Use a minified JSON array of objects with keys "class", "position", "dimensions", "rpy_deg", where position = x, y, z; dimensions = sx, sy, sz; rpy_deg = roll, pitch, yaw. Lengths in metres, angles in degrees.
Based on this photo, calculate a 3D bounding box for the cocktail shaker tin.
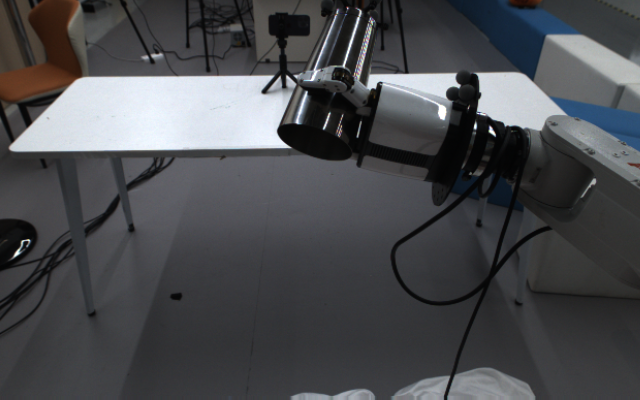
[{"class":"cocktail shaker tin","position":[0.018,-0.145,0.588],"dimensions":[0.093,0.093,0.170],"rpy_deg":[13,73,15]}]
